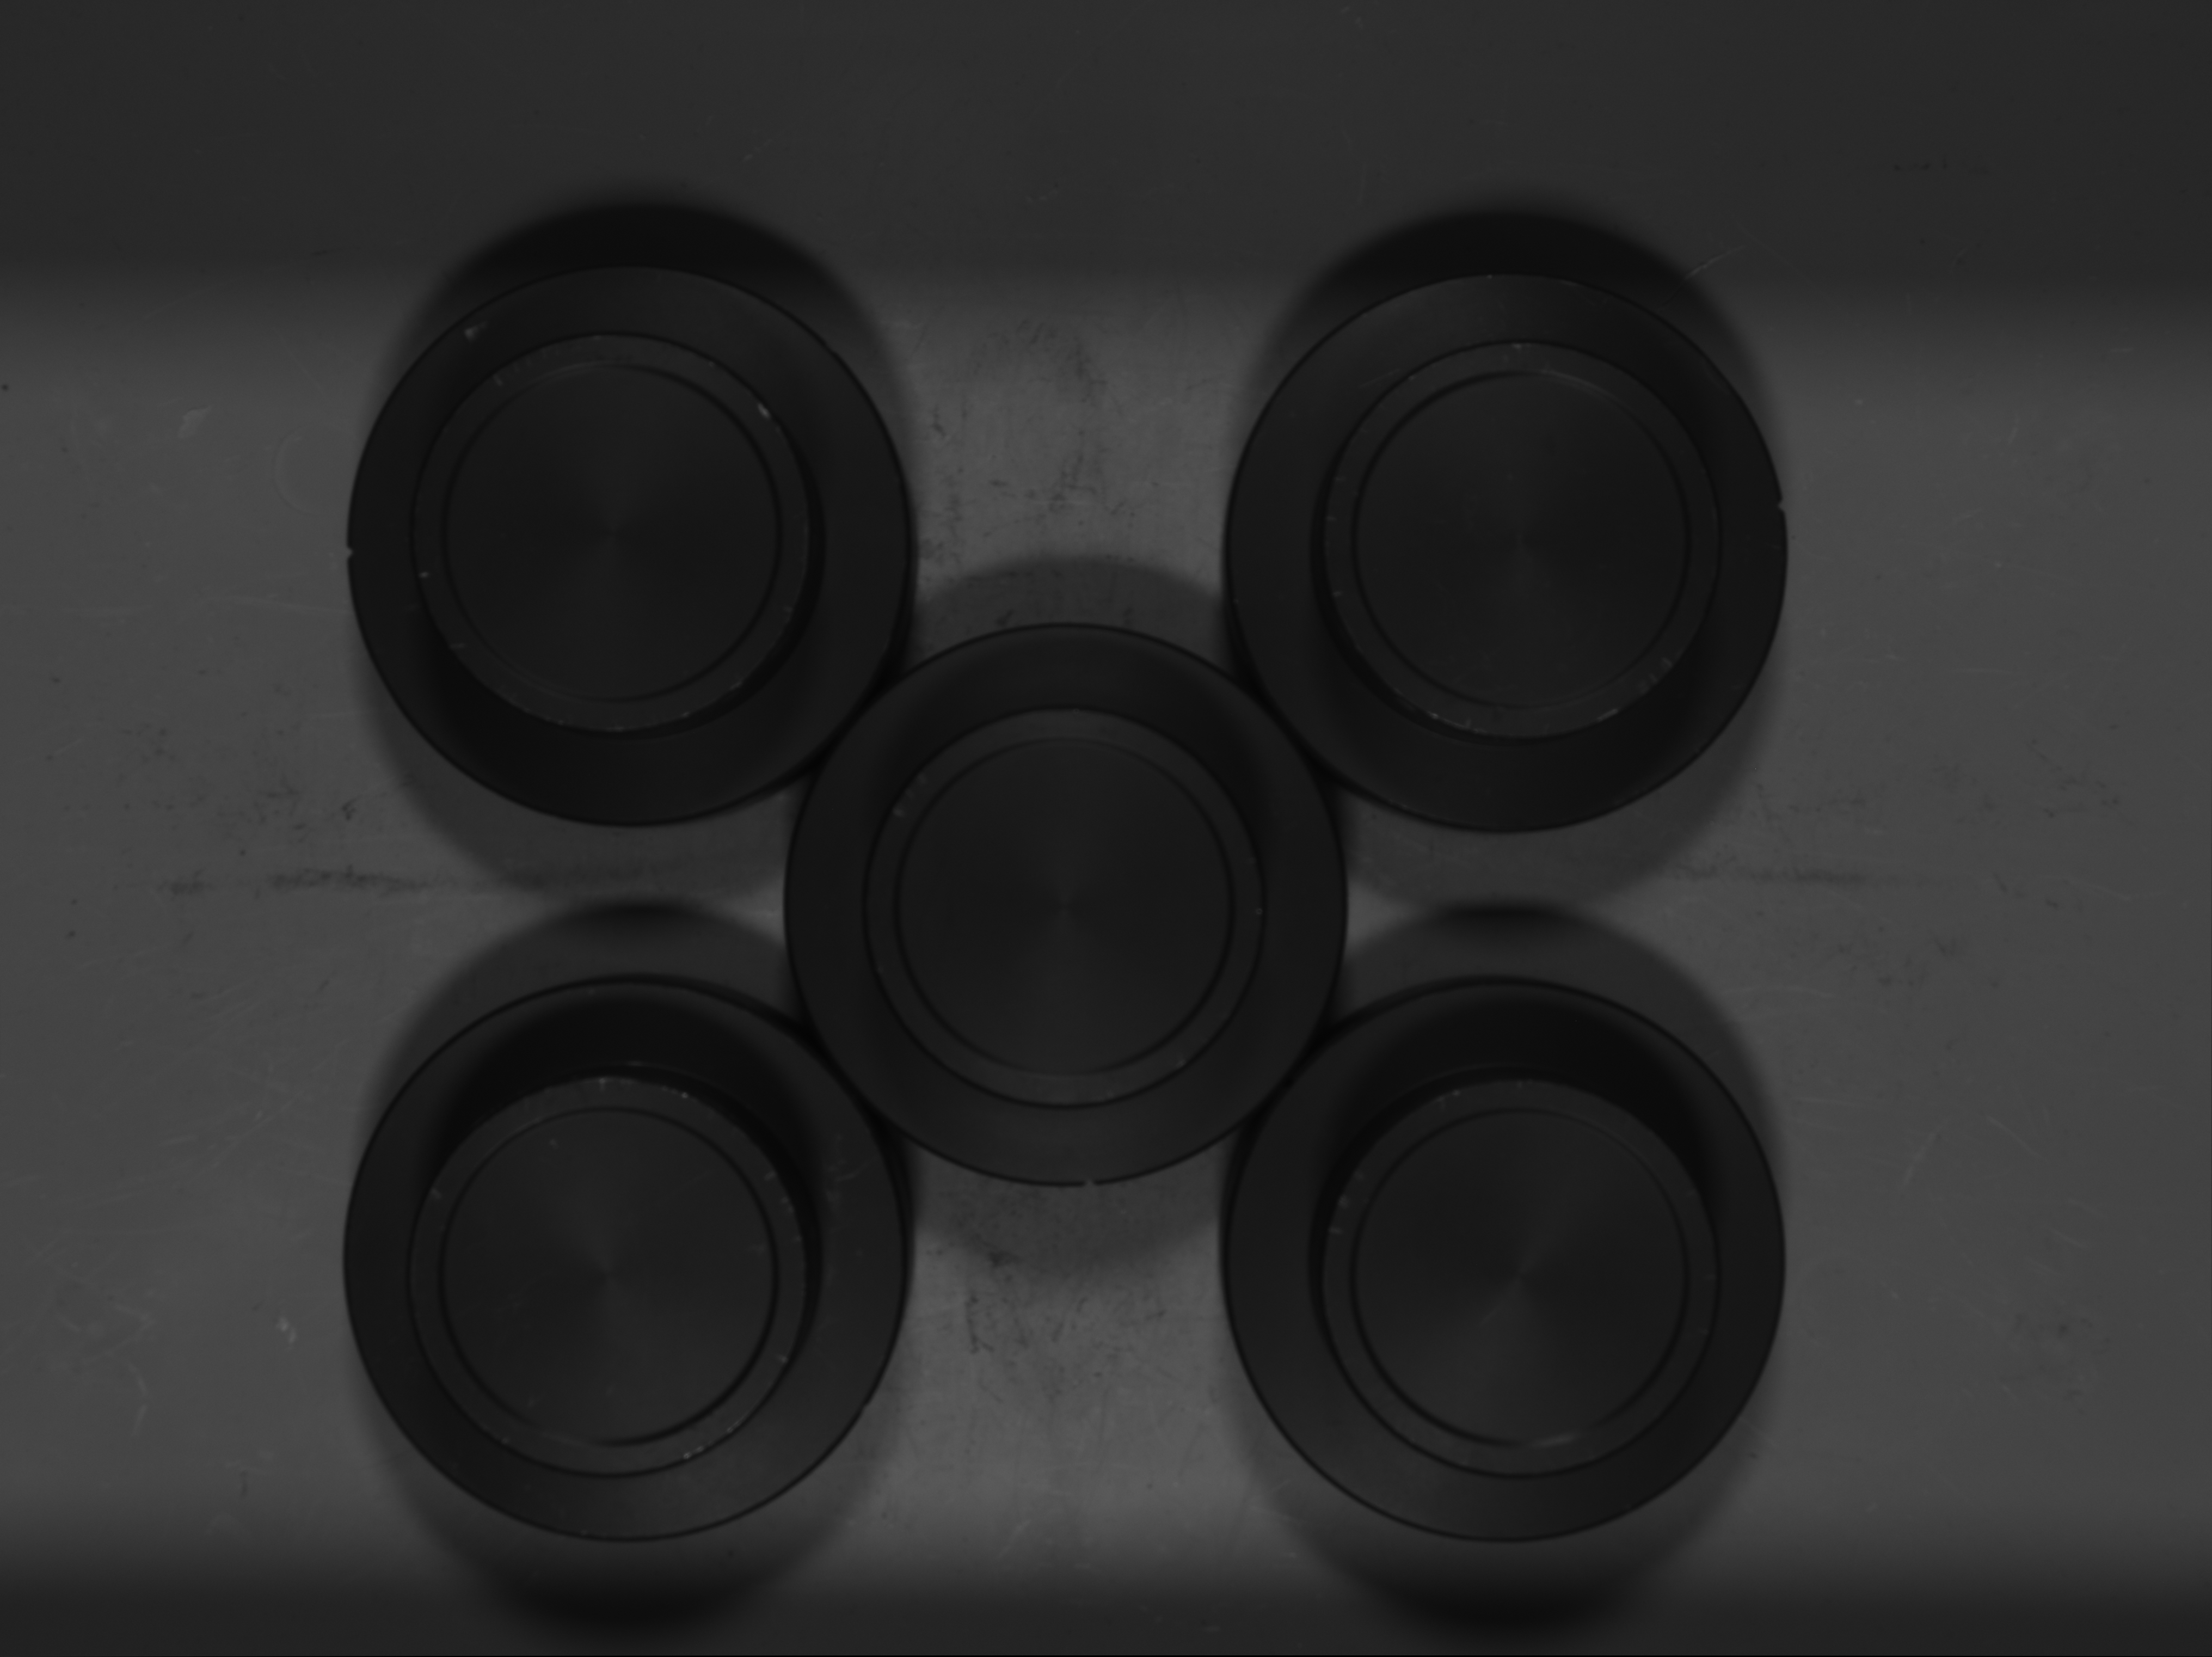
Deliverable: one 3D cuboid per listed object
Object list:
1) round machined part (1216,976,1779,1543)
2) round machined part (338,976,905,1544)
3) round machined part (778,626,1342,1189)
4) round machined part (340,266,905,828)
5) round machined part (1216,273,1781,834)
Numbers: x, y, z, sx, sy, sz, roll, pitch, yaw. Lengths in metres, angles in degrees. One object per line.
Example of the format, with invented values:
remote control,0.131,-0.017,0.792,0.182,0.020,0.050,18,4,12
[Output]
round machined part,0.068,0.075,0.636,0.098,0.042,0.098,0,90,0
round machined part,-0.084,0.075,0.635,0.098,0.042,0.098,0,90,0
round machined part,-0.008,0.014,0.635,0.098,0.042,0.098,0,90,0
round machined part,-0.084,-0.049,0.635,0.098,0.042,0.098,0,90,0
round machined part,0.069,-0.048,0.636,0.098,0.042,0.098,0,90,0
